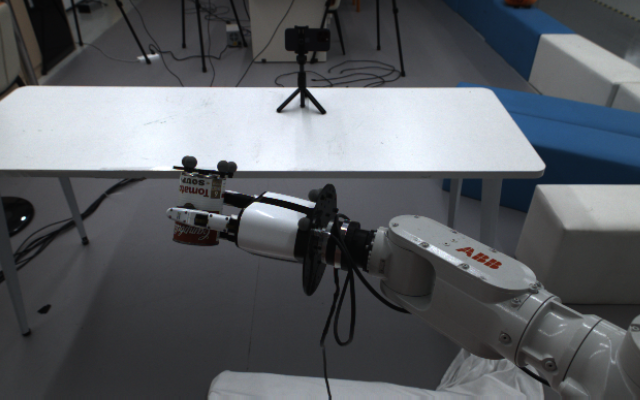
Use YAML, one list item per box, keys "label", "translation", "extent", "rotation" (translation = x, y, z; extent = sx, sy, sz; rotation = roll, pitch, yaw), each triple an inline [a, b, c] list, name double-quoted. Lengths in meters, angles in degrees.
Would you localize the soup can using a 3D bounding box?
- label: "soup can"
  translation: [-0.178, 0.014, 0.716]
  extent: [0.067, 0.101, 0.067]
  rotation: [7, 3, 0]
